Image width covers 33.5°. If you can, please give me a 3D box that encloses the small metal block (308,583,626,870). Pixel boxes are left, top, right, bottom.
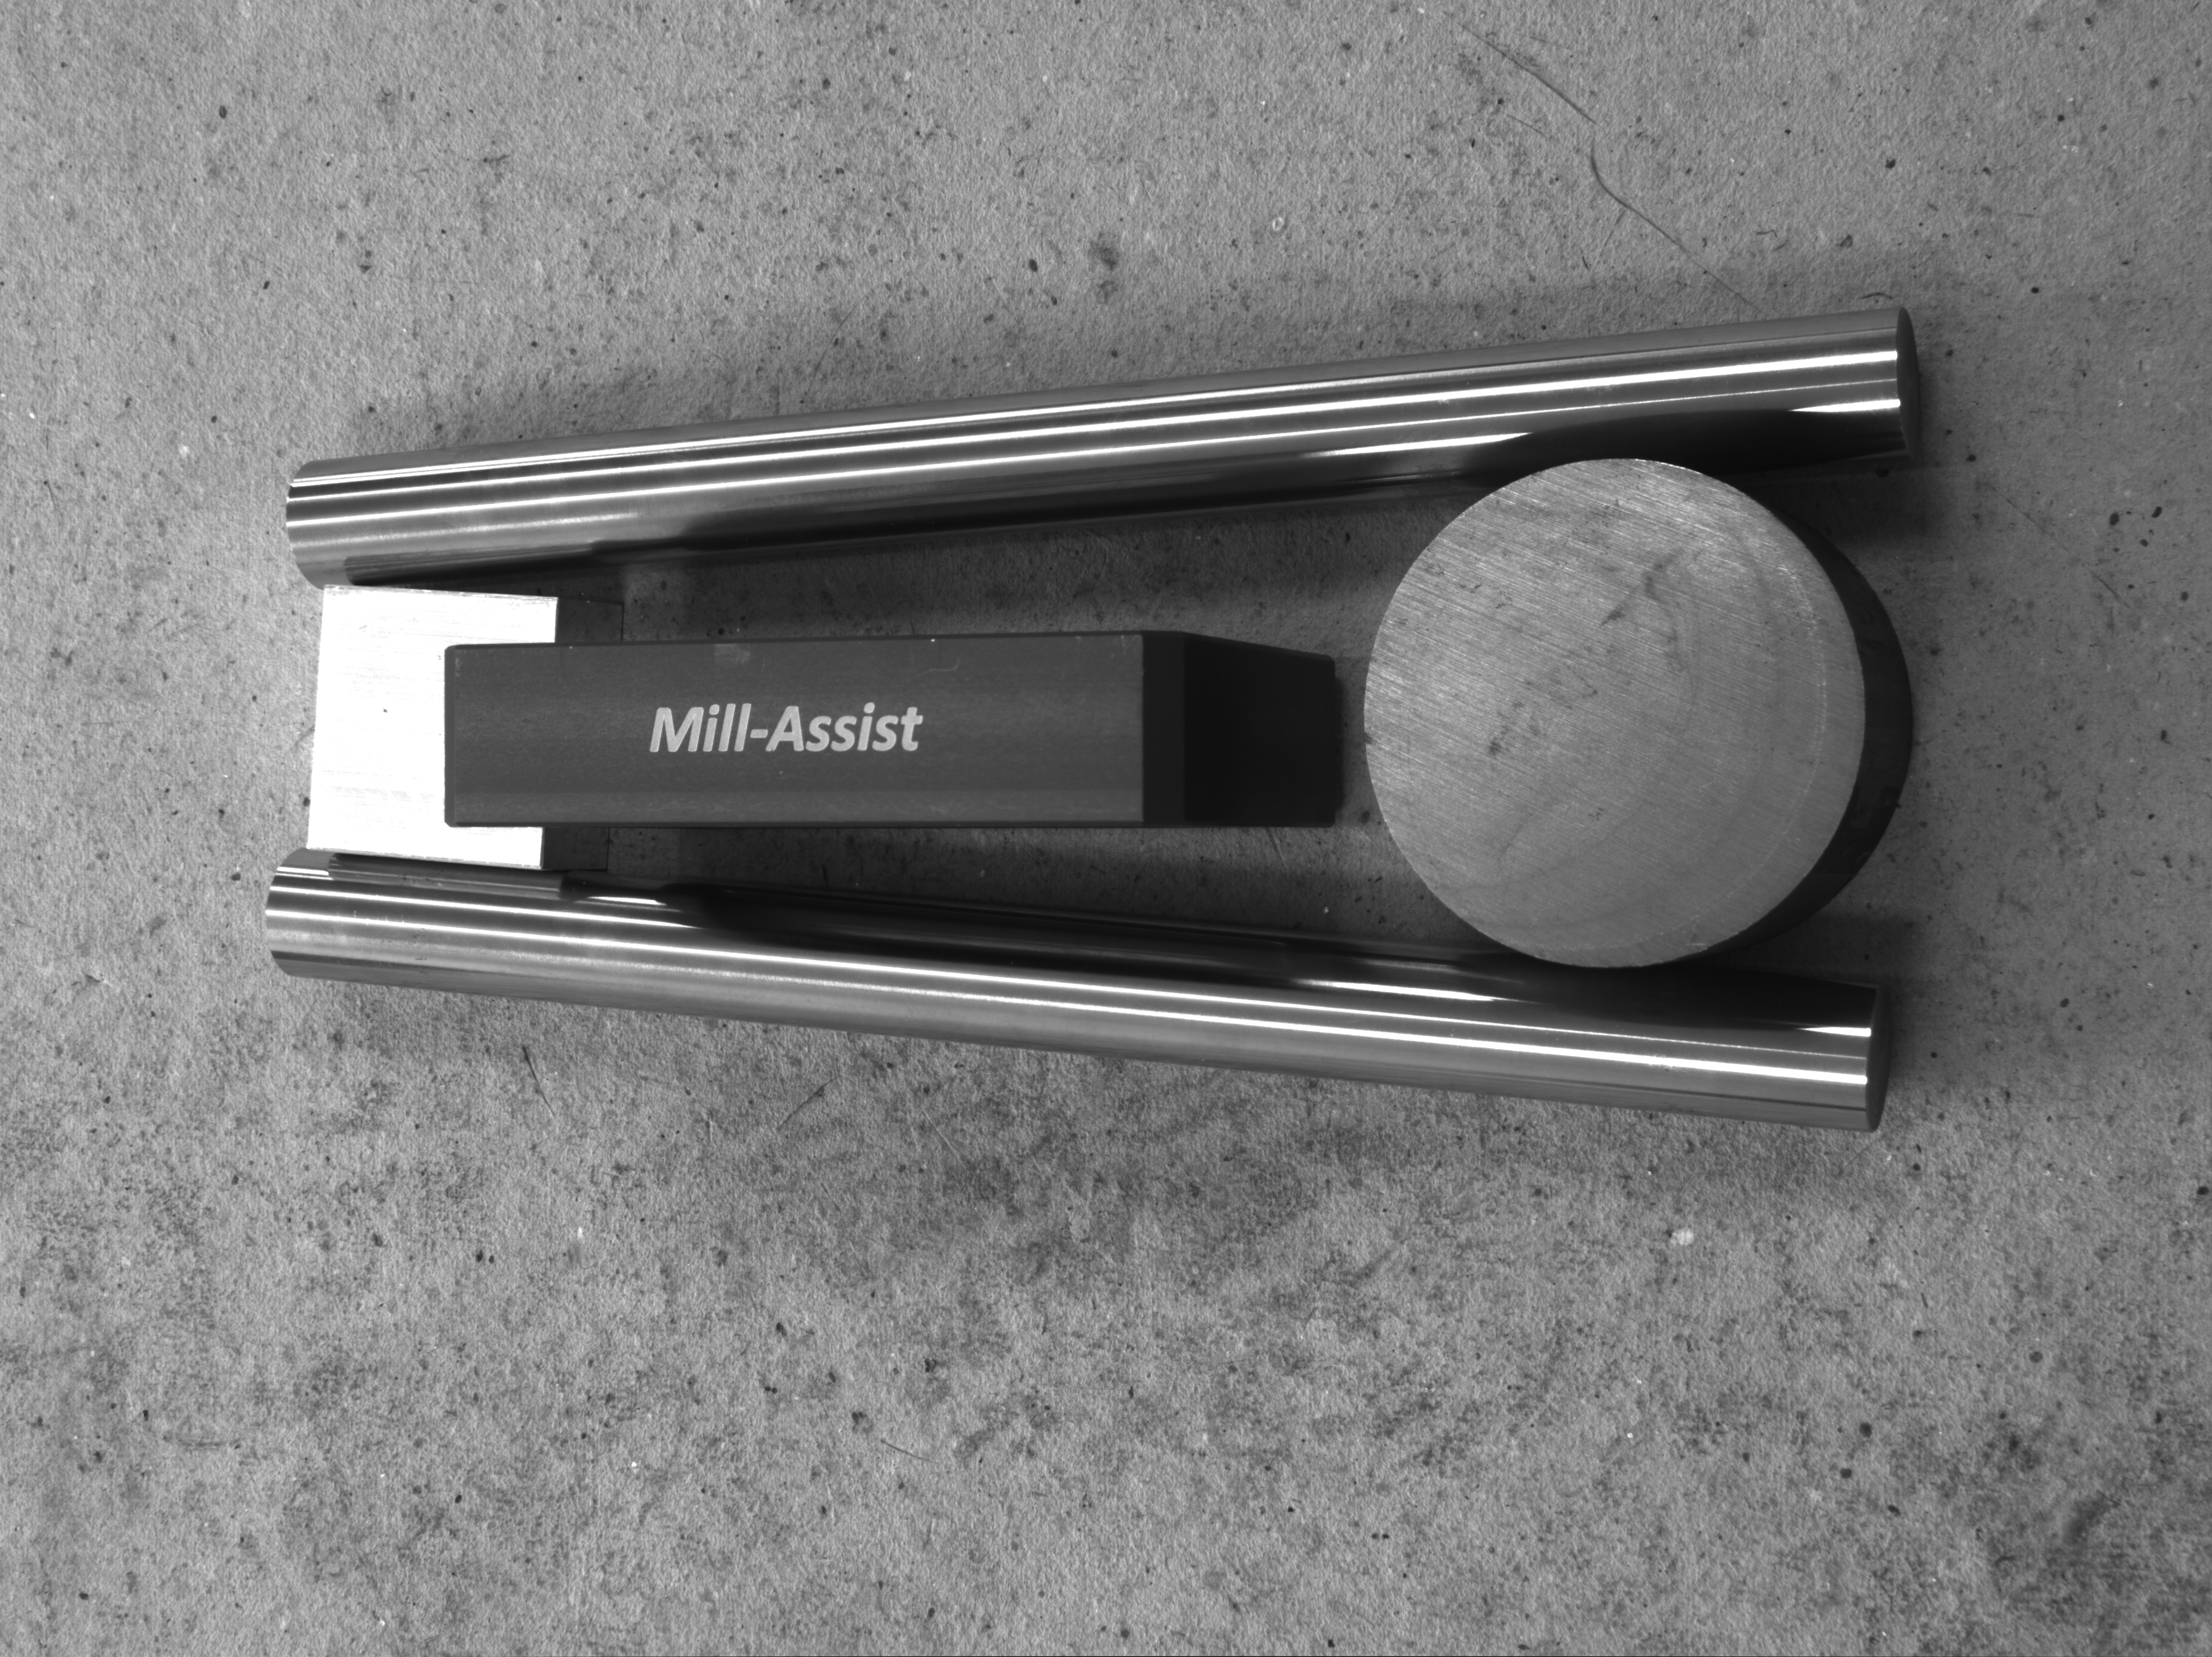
[{"bbox_3d":[-0.120,-0.019,0.692,0.050,0.025,0.050,4,91,20],"label":"small metal block"}]

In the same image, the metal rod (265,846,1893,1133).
[{"bbox_3d":[-0.014,0.027,0.652,0.299,0.025,0.025,4,91,20],"label":"metal rod"}]

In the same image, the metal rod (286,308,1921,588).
[{"bbox_3d":[-0.009,-0.065,0.651,0.299,0.025,0.025,-3,89,20],"label":"metal rod"}]

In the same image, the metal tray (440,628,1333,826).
[{"bbox_3d":[-0.035,-0.015,0.624,0.130,0.090,0.030,0,90,21],"label":"metal tray"}]

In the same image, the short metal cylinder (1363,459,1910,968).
[{"bbox_3d":[0.088,-0.018,0.601,0.080,0.050,0.080,0,90,20],"label":"short metal cylinder"}]
